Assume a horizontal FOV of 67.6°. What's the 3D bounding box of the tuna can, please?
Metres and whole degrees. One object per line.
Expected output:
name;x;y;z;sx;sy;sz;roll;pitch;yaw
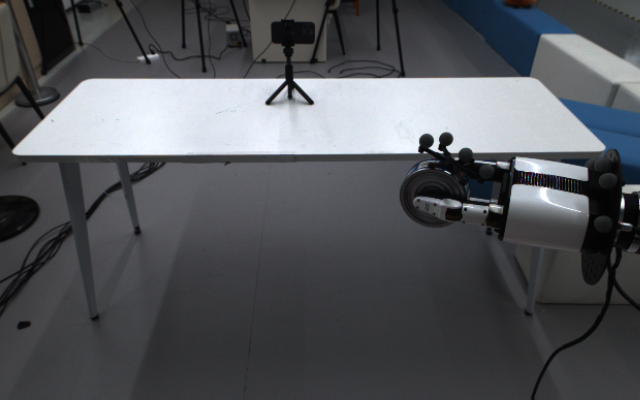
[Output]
tuna can;0.148;-0.010;0.618;0.085;0.085;0.034;15;31;18
